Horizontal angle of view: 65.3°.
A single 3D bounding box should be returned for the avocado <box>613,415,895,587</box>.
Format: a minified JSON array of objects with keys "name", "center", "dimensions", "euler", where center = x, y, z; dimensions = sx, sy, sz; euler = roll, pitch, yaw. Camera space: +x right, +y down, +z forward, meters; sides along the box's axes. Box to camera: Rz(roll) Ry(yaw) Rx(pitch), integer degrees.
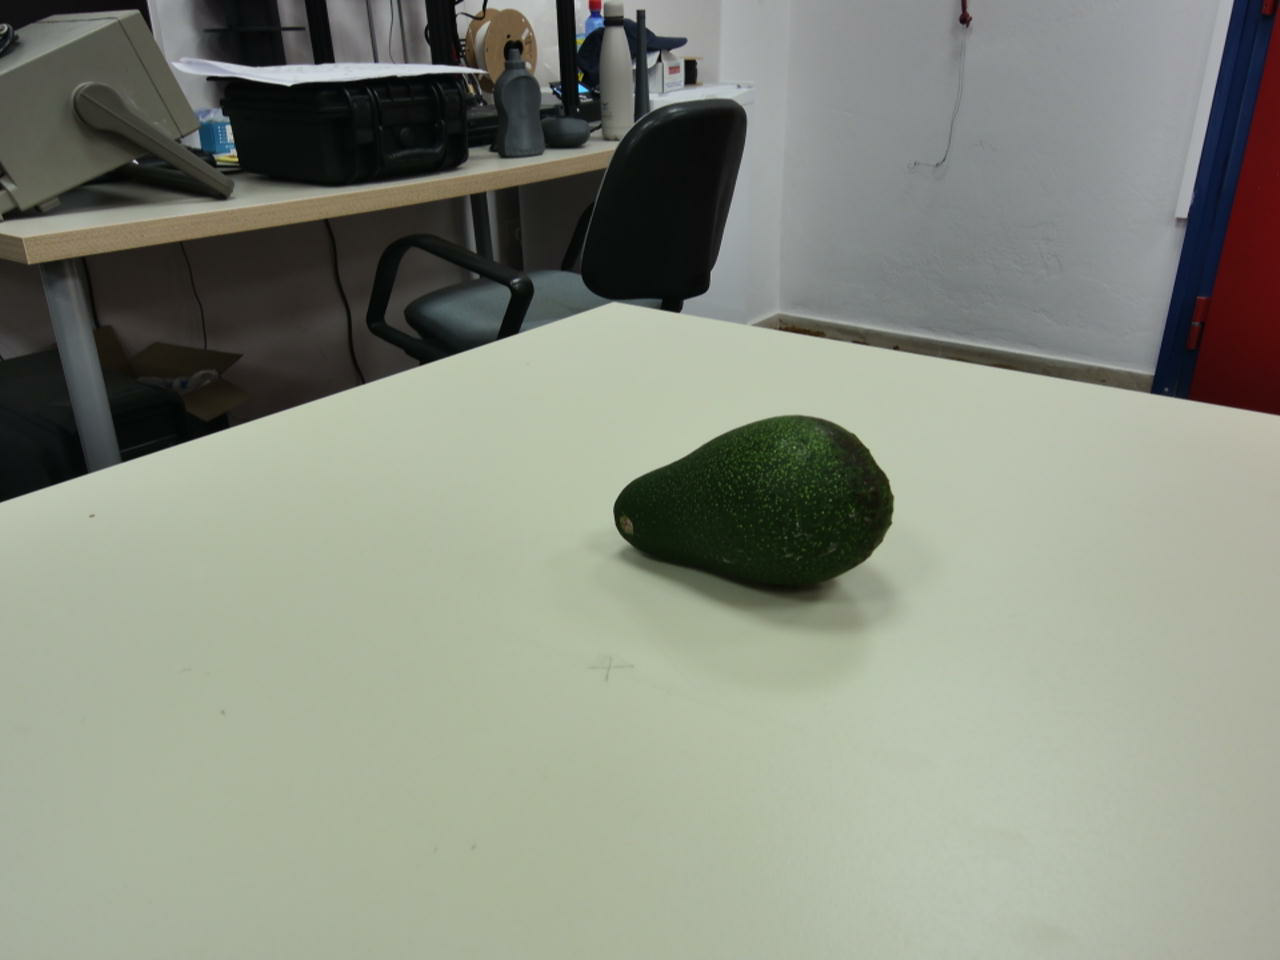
[{"name":"avocado","center":[0.053,0.006,0.438],"dimensions":[0.074,0.076,0.123],"euler":[-21,30,-41]}]
